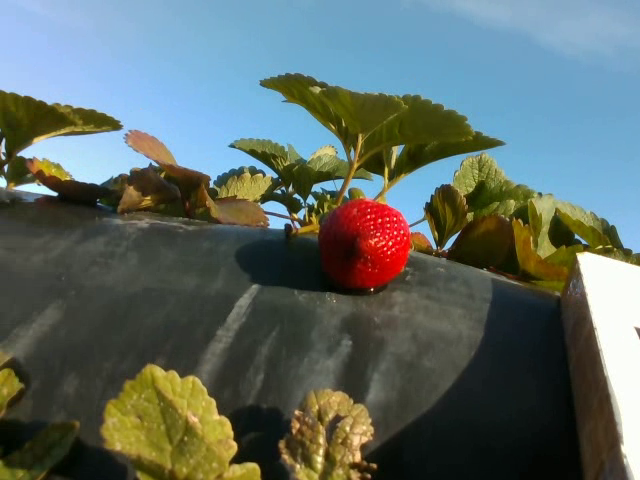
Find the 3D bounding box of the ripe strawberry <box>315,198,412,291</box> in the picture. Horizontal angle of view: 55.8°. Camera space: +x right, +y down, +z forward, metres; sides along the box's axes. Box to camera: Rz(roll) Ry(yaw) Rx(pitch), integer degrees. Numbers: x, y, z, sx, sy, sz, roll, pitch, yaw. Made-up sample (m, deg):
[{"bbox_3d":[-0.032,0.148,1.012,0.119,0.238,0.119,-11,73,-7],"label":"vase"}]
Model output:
[{"bbox_3d":[0.017,0.001,0.213,0.040,0.037,0.044,8,10,-6],"label":"ripe strawberry"}]
